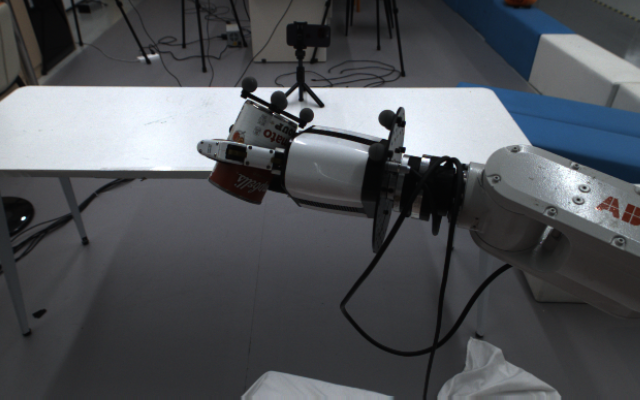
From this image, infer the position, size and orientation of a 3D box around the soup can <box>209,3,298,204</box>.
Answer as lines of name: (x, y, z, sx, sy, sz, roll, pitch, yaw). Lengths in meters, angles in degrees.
soup can: (-0.075, -0.054, 0.553, 0.067, 0.101, 0.067, 26, 6, -3)
